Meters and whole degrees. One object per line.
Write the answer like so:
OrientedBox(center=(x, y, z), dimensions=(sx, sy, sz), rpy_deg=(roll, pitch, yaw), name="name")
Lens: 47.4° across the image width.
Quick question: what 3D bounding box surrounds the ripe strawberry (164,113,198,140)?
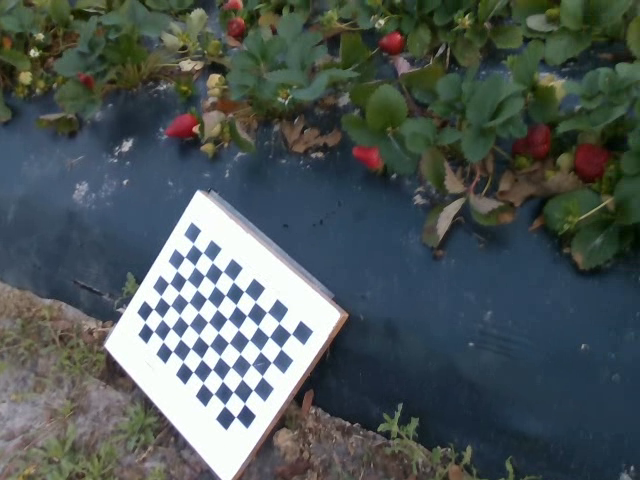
OrientedBox(center=(-0.216, -0.171, 1.094), dimensions=(0.050, 0.034, 0.059), rpy_deg=(26, 48, 33), name="ripe strawberry")
